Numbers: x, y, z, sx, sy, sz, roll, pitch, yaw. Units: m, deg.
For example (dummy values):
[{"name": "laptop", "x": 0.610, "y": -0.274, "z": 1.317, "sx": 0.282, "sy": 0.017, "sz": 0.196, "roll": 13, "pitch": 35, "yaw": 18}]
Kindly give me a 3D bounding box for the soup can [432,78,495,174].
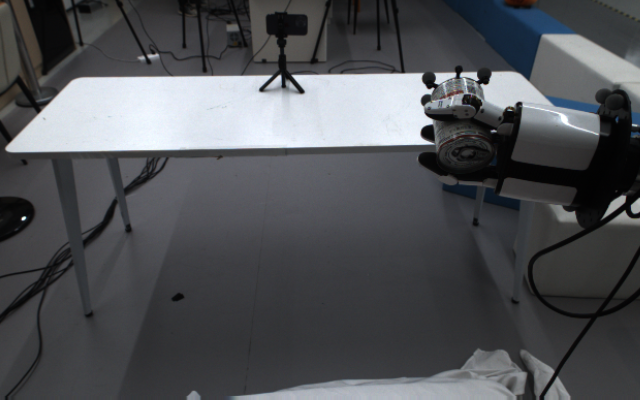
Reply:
[{"name": "soup can", "x": 0.175, "y": -0.093, "z": 0.597, "sx": 0.067, "sy": 0.067, "sz": 0.101, "roll": 3, "pitch": 57, "yaw": 1}]
